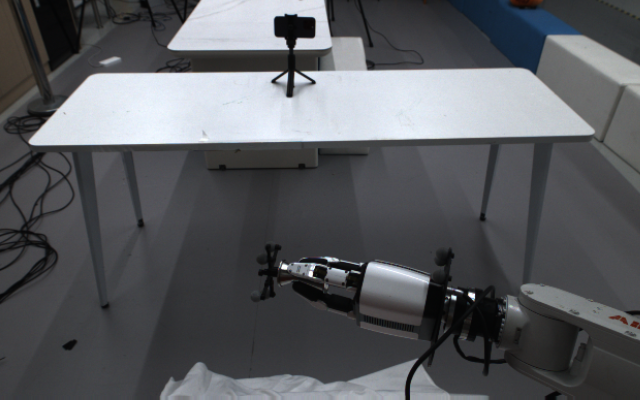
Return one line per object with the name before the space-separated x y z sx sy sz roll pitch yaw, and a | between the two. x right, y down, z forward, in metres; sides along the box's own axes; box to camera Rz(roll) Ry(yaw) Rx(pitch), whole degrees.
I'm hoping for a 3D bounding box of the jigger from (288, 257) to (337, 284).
jigger | -0.016 0.104 0.687 0.071 0.043 0.043 4 34 13
